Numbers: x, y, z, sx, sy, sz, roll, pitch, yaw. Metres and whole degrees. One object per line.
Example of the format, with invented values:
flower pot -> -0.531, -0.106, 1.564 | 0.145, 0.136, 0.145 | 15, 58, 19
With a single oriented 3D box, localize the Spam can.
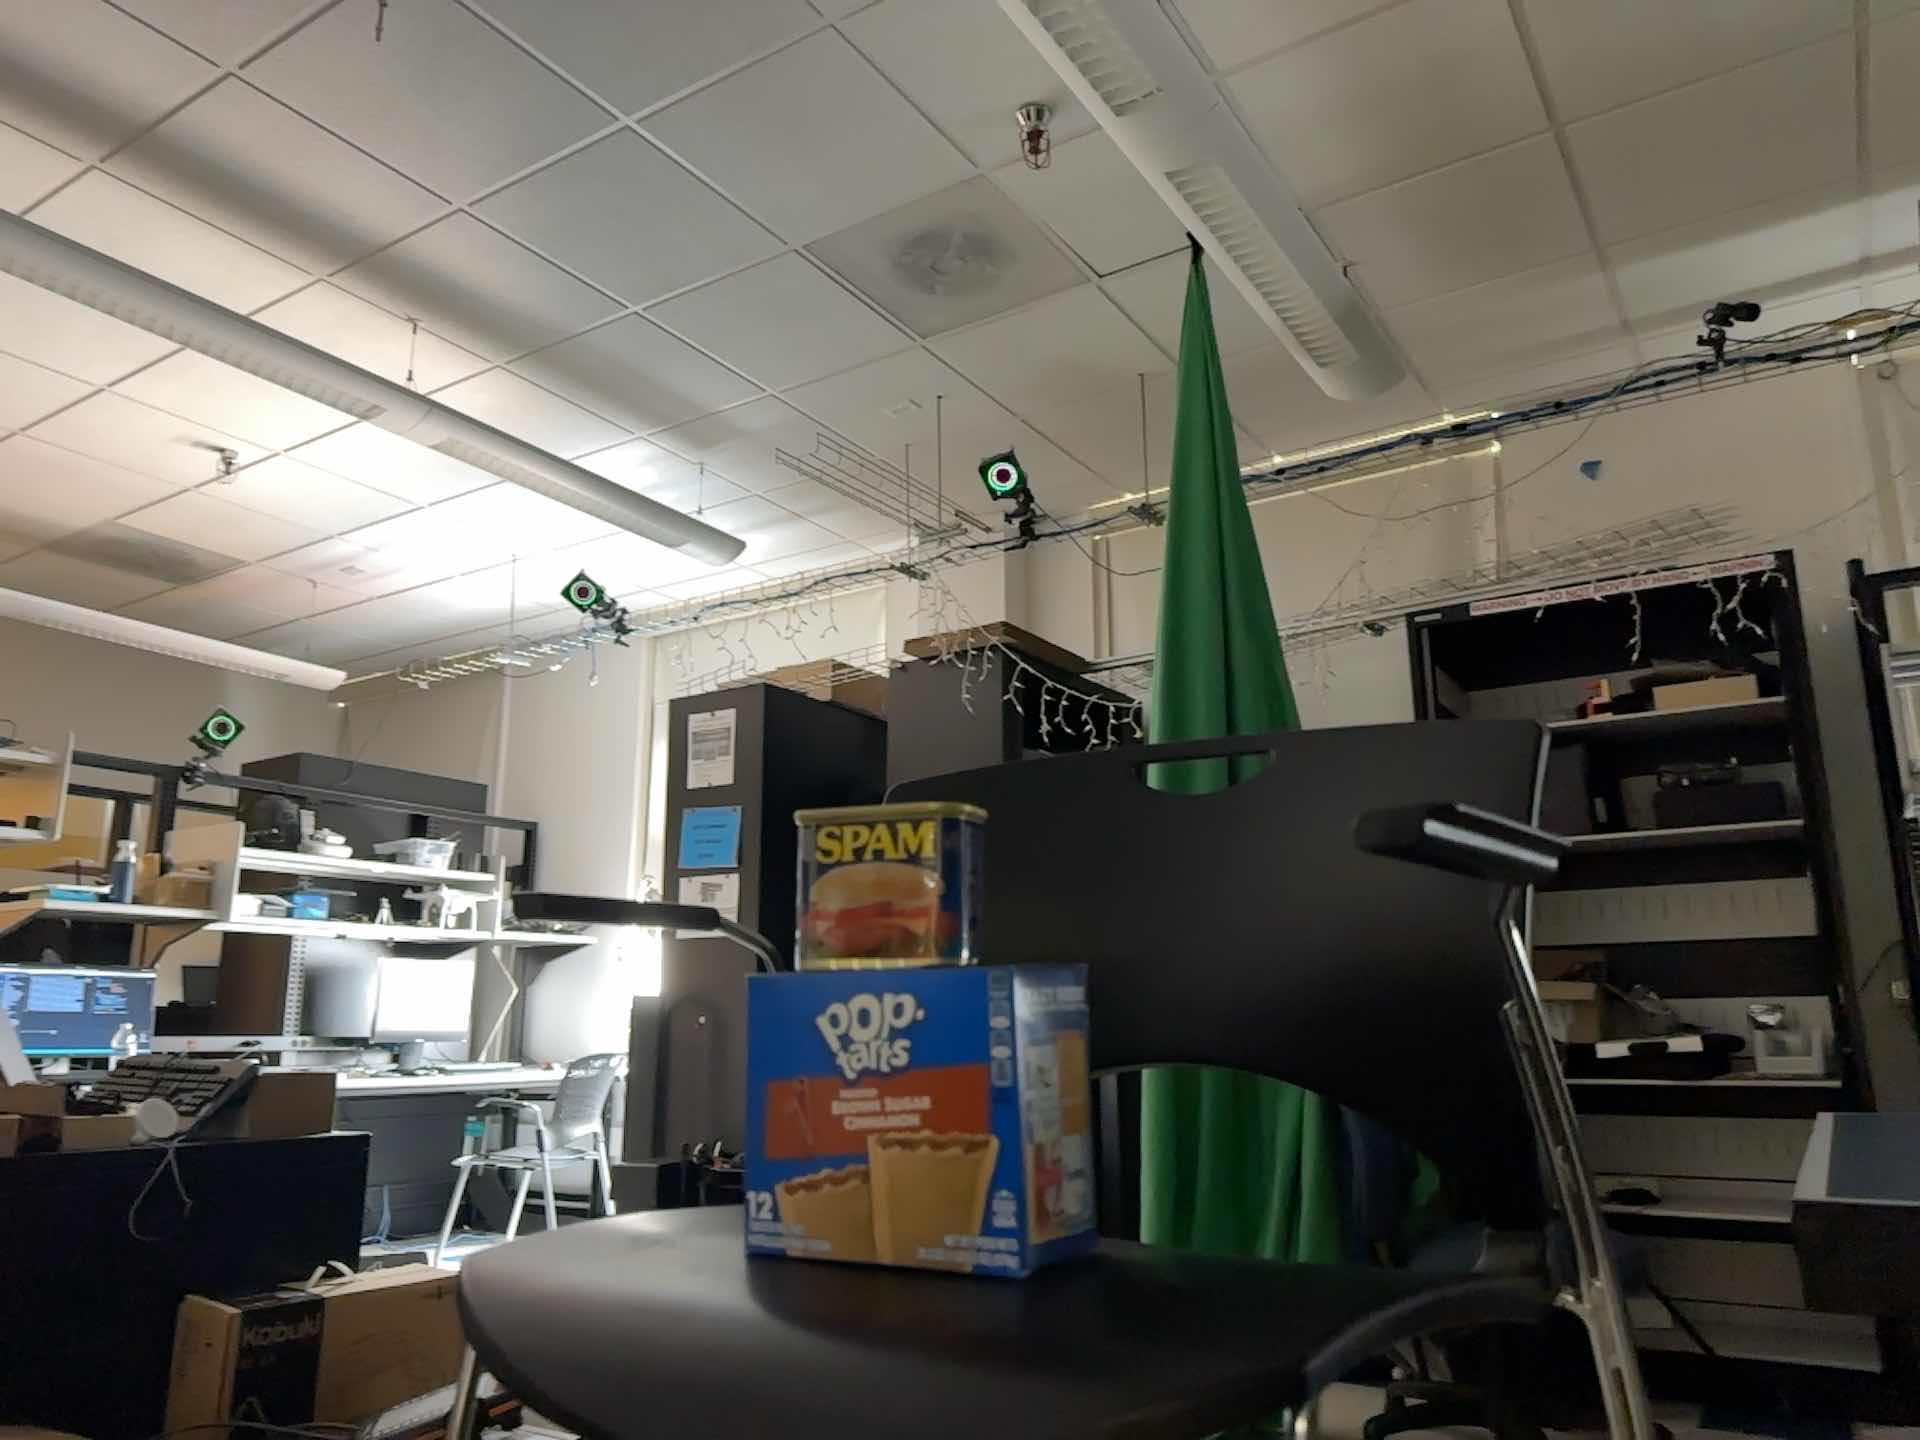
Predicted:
Spam can -> -0.037, 0.088, 0.716 | 0.100, 0.083, 0.056 | -5, -10, 27

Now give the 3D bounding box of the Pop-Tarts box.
Pop-Tarts box -> -0.024, 0.201, 0.696 | 0.161, 0.135, 0.075 | -7, -11, 29
